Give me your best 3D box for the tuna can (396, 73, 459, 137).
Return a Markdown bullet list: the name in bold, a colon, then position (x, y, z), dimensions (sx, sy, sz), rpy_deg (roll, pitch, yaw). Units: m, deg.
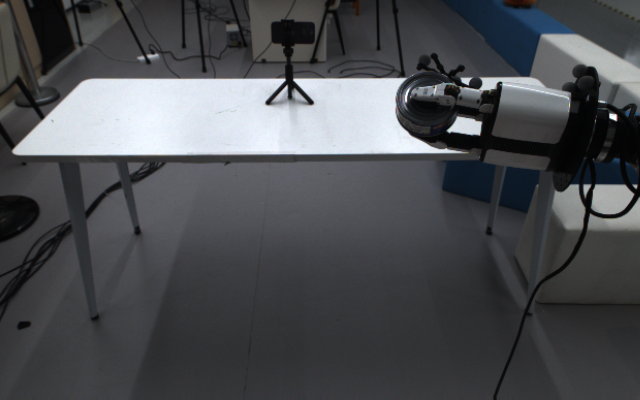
- **tuna can**: position (0.151, -0.126, 0.661), dimensions (0.085, 0.034, 0.085), rpy_deg (-4, 69, 10)
